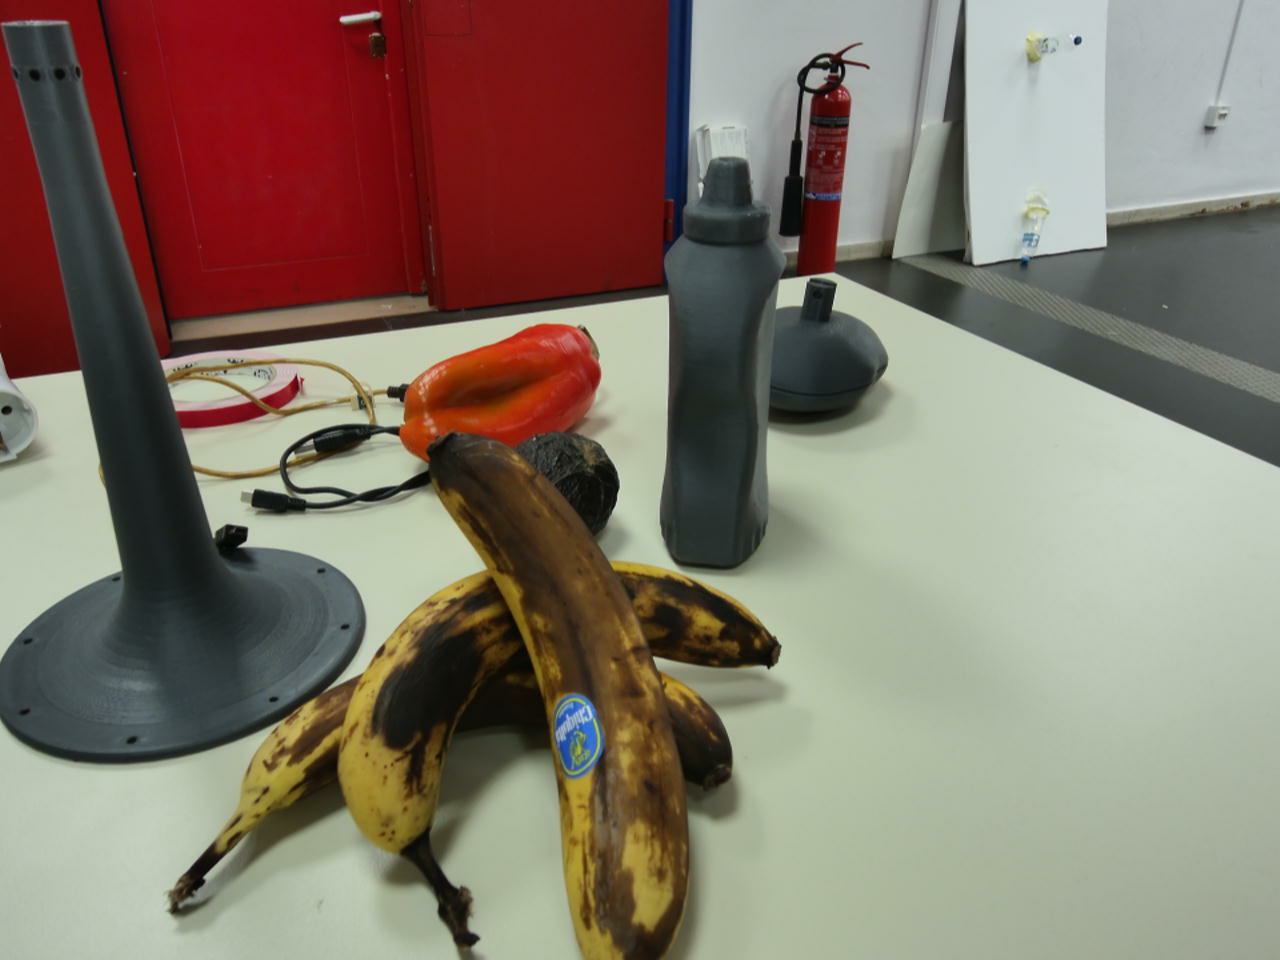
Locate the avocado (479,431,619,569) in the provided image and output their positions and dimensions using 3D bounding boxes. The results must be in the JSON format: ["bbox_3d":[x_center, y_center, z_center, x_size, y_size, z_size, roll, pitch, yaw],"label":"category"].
[{"bbox_3d":[-0.050,0.009,0.519,0.062,0.062,0.092,21,33,36],"label":"avocado"}]
